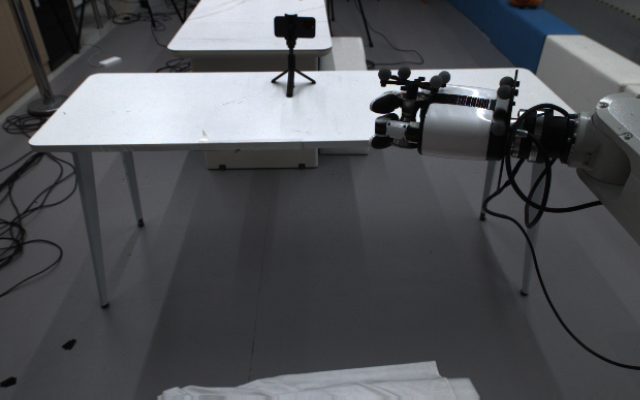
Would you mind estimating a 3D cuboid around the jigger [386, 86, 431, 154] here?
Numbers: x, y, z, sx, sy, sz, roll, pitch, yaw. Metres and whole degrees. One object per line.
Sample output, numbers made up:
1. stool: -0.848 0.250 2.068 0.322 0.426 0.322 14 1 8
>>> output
1. jigger: 0.126 -0.111 0.677 0.043 0.071 0.043 3 25 -1
